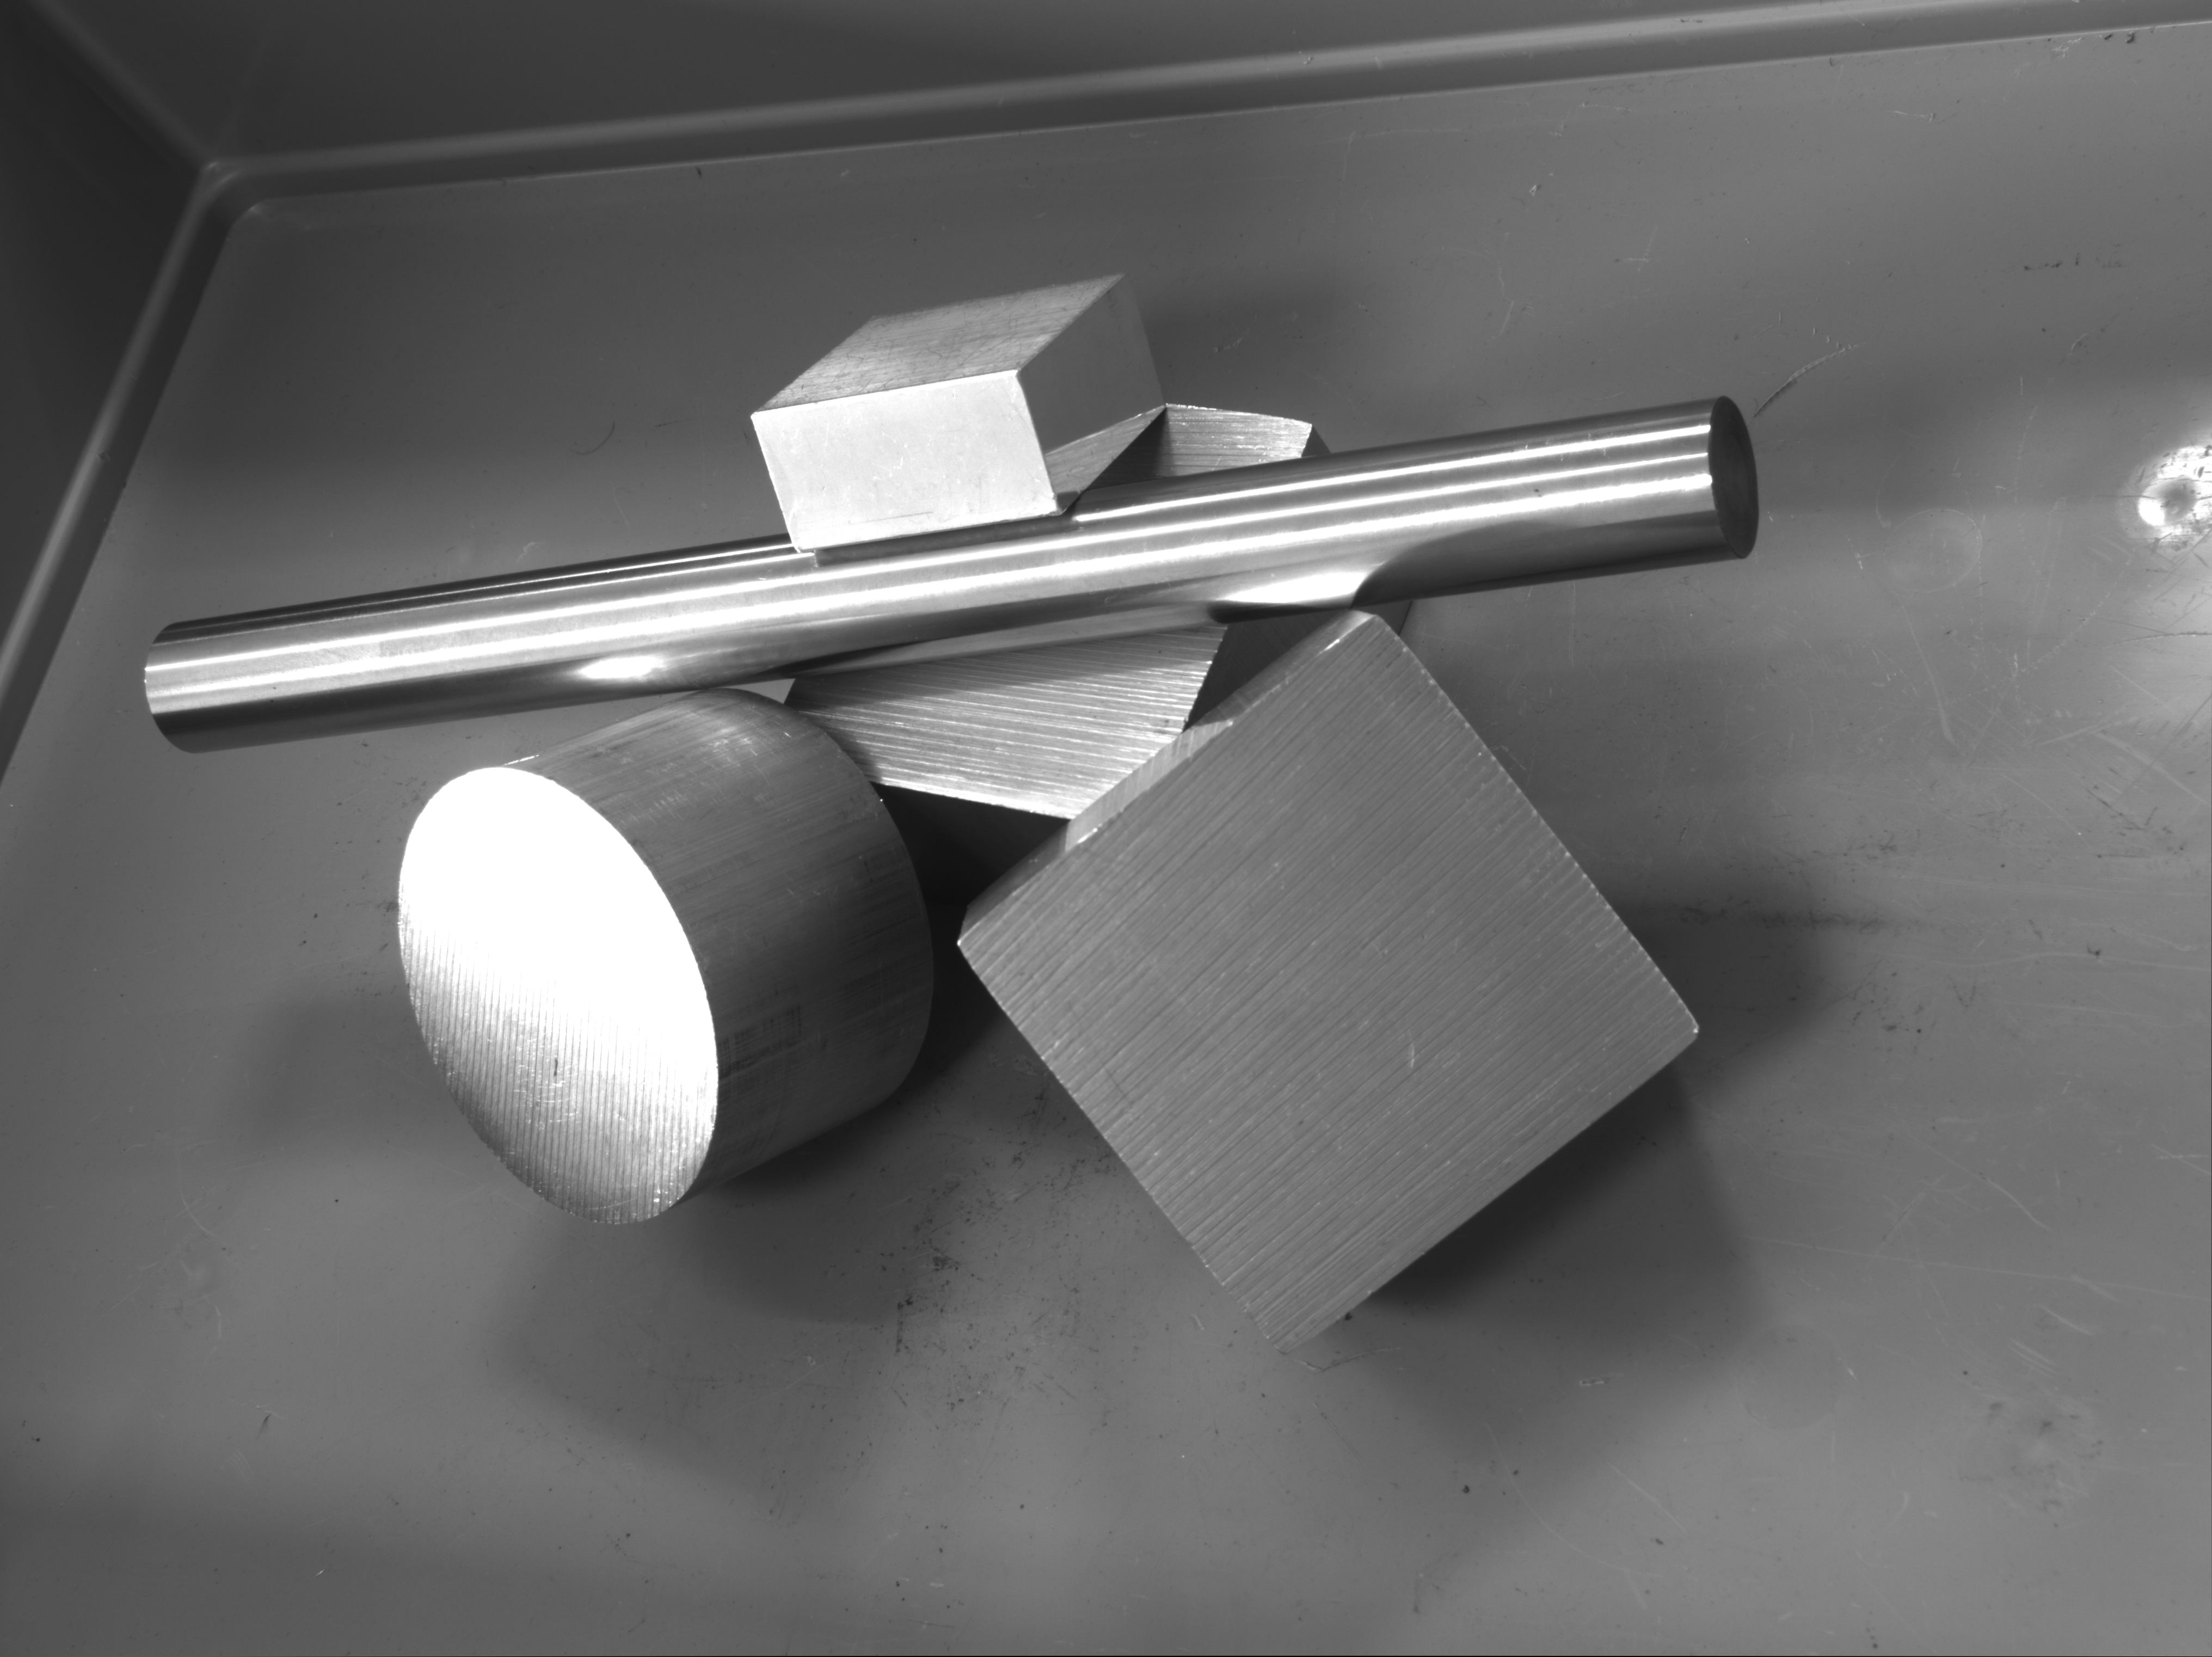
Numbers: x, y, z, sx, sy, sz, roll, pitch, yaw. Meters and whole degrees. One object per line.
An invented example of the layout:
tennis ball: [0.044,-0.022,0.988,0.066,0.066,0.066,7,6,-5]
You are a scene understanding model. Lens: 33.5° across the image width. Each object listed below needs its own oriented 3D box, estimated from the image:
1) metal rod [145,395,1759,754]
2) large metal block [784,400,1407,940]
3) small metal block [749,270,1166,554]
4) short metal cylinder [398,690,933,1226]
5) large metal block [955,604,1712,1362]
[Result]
metal rod: [-0.038,-0.040,0.625,0.299,0.025,0.025,-6,59,26]
large metal block: [-0.002,-0.029,0.647,0.080,0.050,0.080,11,67,33]
small metal block: [-0.024,-0.070,0.620,0.050,0.025,0.050,-6,24,26]
short metal cylinder: [-0.076,0.021,0.628,0.080,0.080,0.050,21,30,36]
large metal block: [0.034,0.022,0.569,0.080,0.050,0.080,-39,94,2]
